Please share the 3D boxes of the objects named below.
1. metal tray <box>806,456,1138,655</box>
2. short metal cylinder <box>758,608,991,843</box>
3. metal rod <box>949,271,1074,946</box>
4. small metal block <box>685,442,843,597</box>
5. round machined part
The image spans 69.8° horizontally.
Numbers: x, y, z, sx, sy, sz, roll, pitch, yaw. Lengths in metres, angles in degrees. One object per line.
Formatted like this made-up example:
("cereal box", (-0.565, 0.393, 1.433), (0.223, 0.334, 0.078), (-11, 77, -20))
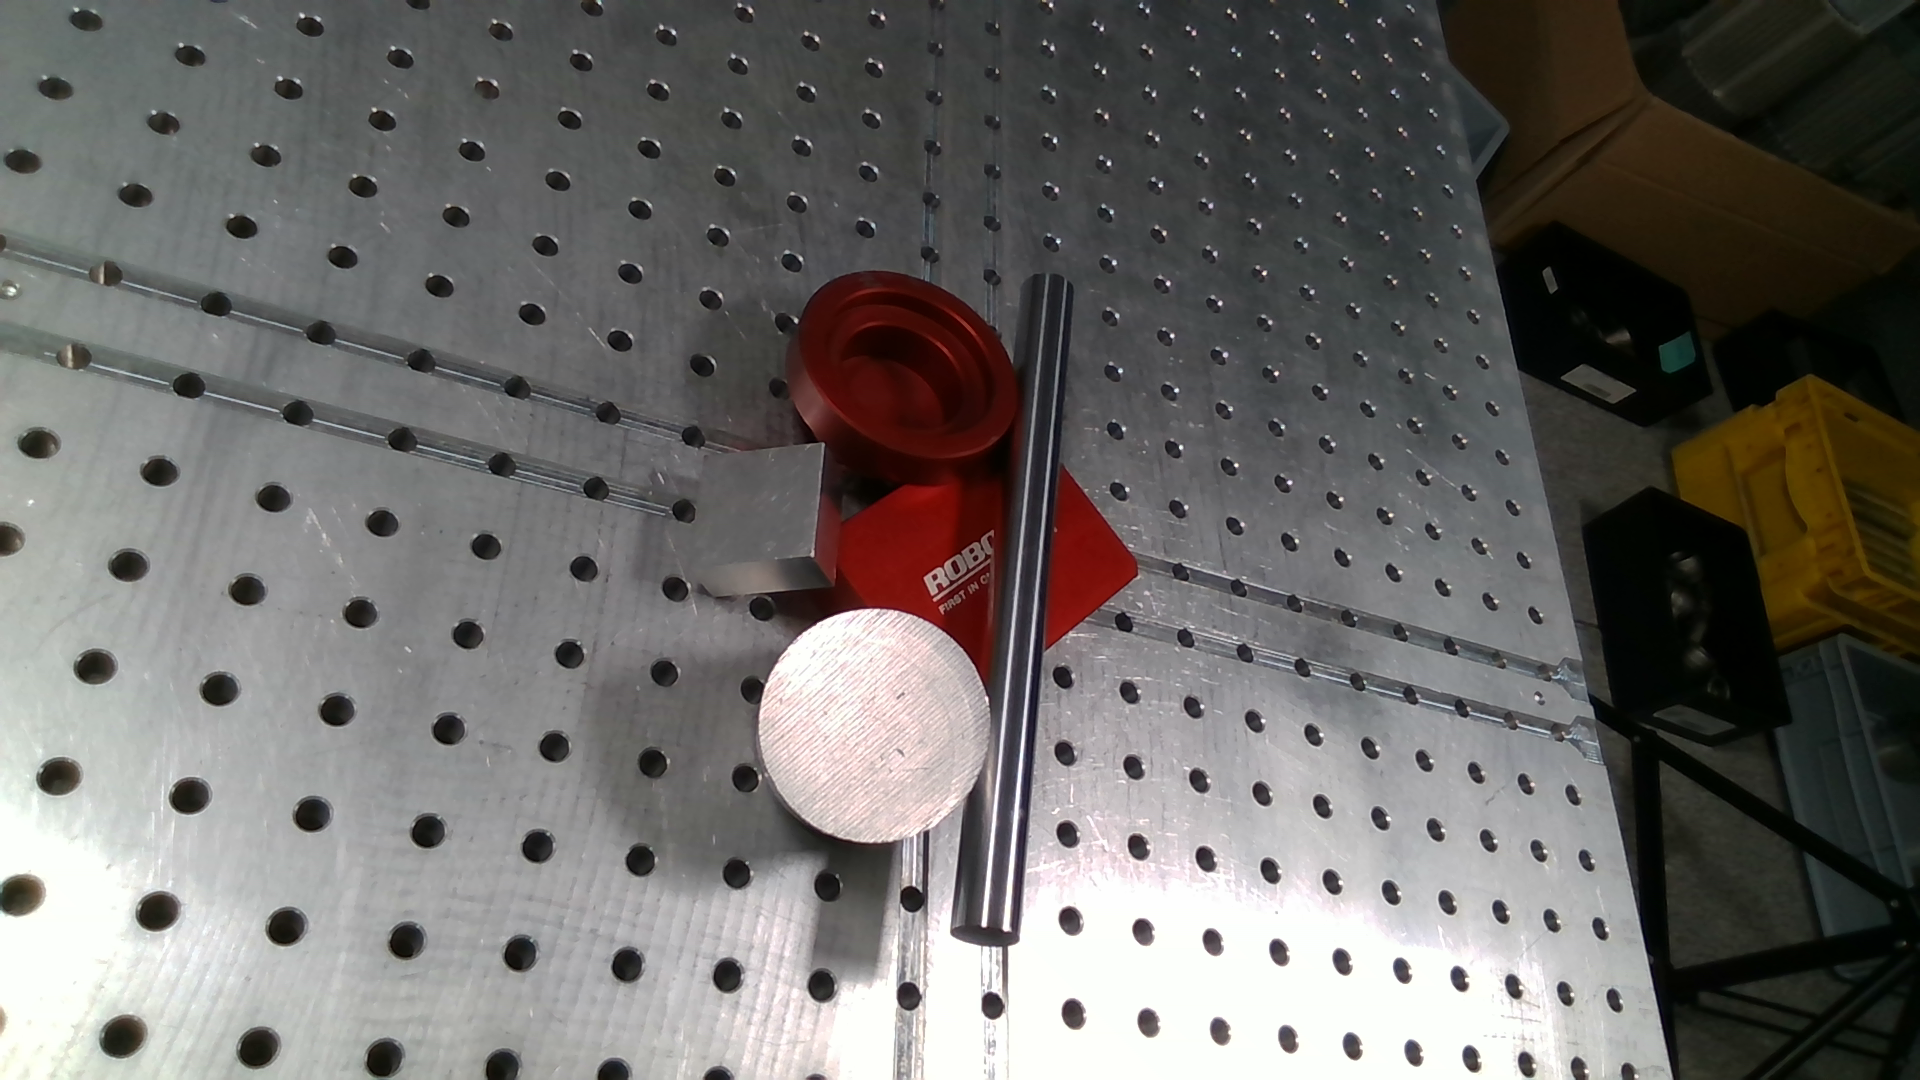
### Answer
("metal tray", (0.007, 0.014, 0.584), (0.130, 0.030, 0.090), (-35, 86, -39))
("short metal cylinder", (-0.033, 0.068, 0.497), (0.080, 0.050, 0.080), (2, 79, -9))
("metal rod", (0.024, 0.011, 0.558), (0.025, 0.025, 0.299), (21, 56, -21))
("small metal block", (-0.074, -0.007, 0.530), (0.050, 0.025, 0.050), (-5, 60, 14))
("round machined part", (-0.028, -0.065, 0.590), (0.098, 0.042, 0.098), (13, 54, -18))
